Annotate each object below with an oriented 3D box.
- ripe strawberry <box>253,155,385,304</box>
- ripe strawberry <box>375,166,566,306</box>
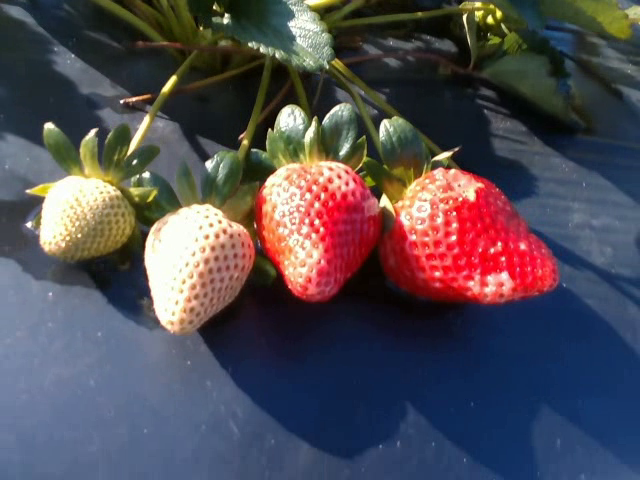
[{"bbox_3d":[-0.001,-0.002,0.185,0.050,0.061,0.043,33,-55,-19],"label":"ripe strawberry"},{"bbox_3d":[0.051,0.002,0.198,0.067,0.057,0.052,33,-18,39],"label":"ripe strawberry"}]
